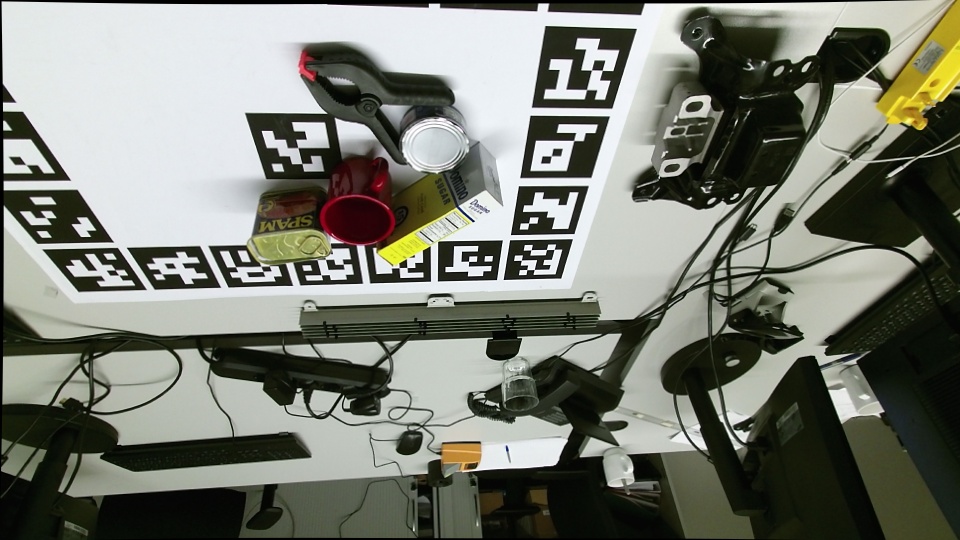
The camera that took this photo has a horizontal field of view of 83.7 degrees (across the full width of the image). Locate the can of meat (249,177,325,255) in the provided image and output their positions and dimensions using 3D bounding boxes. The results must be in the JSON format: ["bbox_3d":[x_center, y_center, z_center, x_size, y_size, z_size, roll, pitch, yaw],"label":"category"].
[{"bbox_3d":[-0.252,-0.072,0.700,0.102,0.083,0.058,-6,140,2],"label":"can of meat"}]

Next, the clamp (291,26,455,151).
[{"bbox_3d":[-0.126,-0.211,0.594,0.166,0.036,0.122,27,133,-27],"label":"clamp"}]

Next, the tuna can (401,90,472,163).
[{"bbox_3d":[-0.051,-0.173,0.639,0.086,0.033,0.086,-4,137,-4],"label":"tuna can"}]

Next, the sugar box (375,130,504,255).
[{"bbox_3d":[-0.057,-0.098,0.689,0.177,0.092,0.045,-27,137,24],"label":"sugar box"}]

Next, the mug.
[{"bbox_3d":[-0.148,-0.103,0.667,0.094,0.081,0.117,17,132,-24],"label":"mug"}]
